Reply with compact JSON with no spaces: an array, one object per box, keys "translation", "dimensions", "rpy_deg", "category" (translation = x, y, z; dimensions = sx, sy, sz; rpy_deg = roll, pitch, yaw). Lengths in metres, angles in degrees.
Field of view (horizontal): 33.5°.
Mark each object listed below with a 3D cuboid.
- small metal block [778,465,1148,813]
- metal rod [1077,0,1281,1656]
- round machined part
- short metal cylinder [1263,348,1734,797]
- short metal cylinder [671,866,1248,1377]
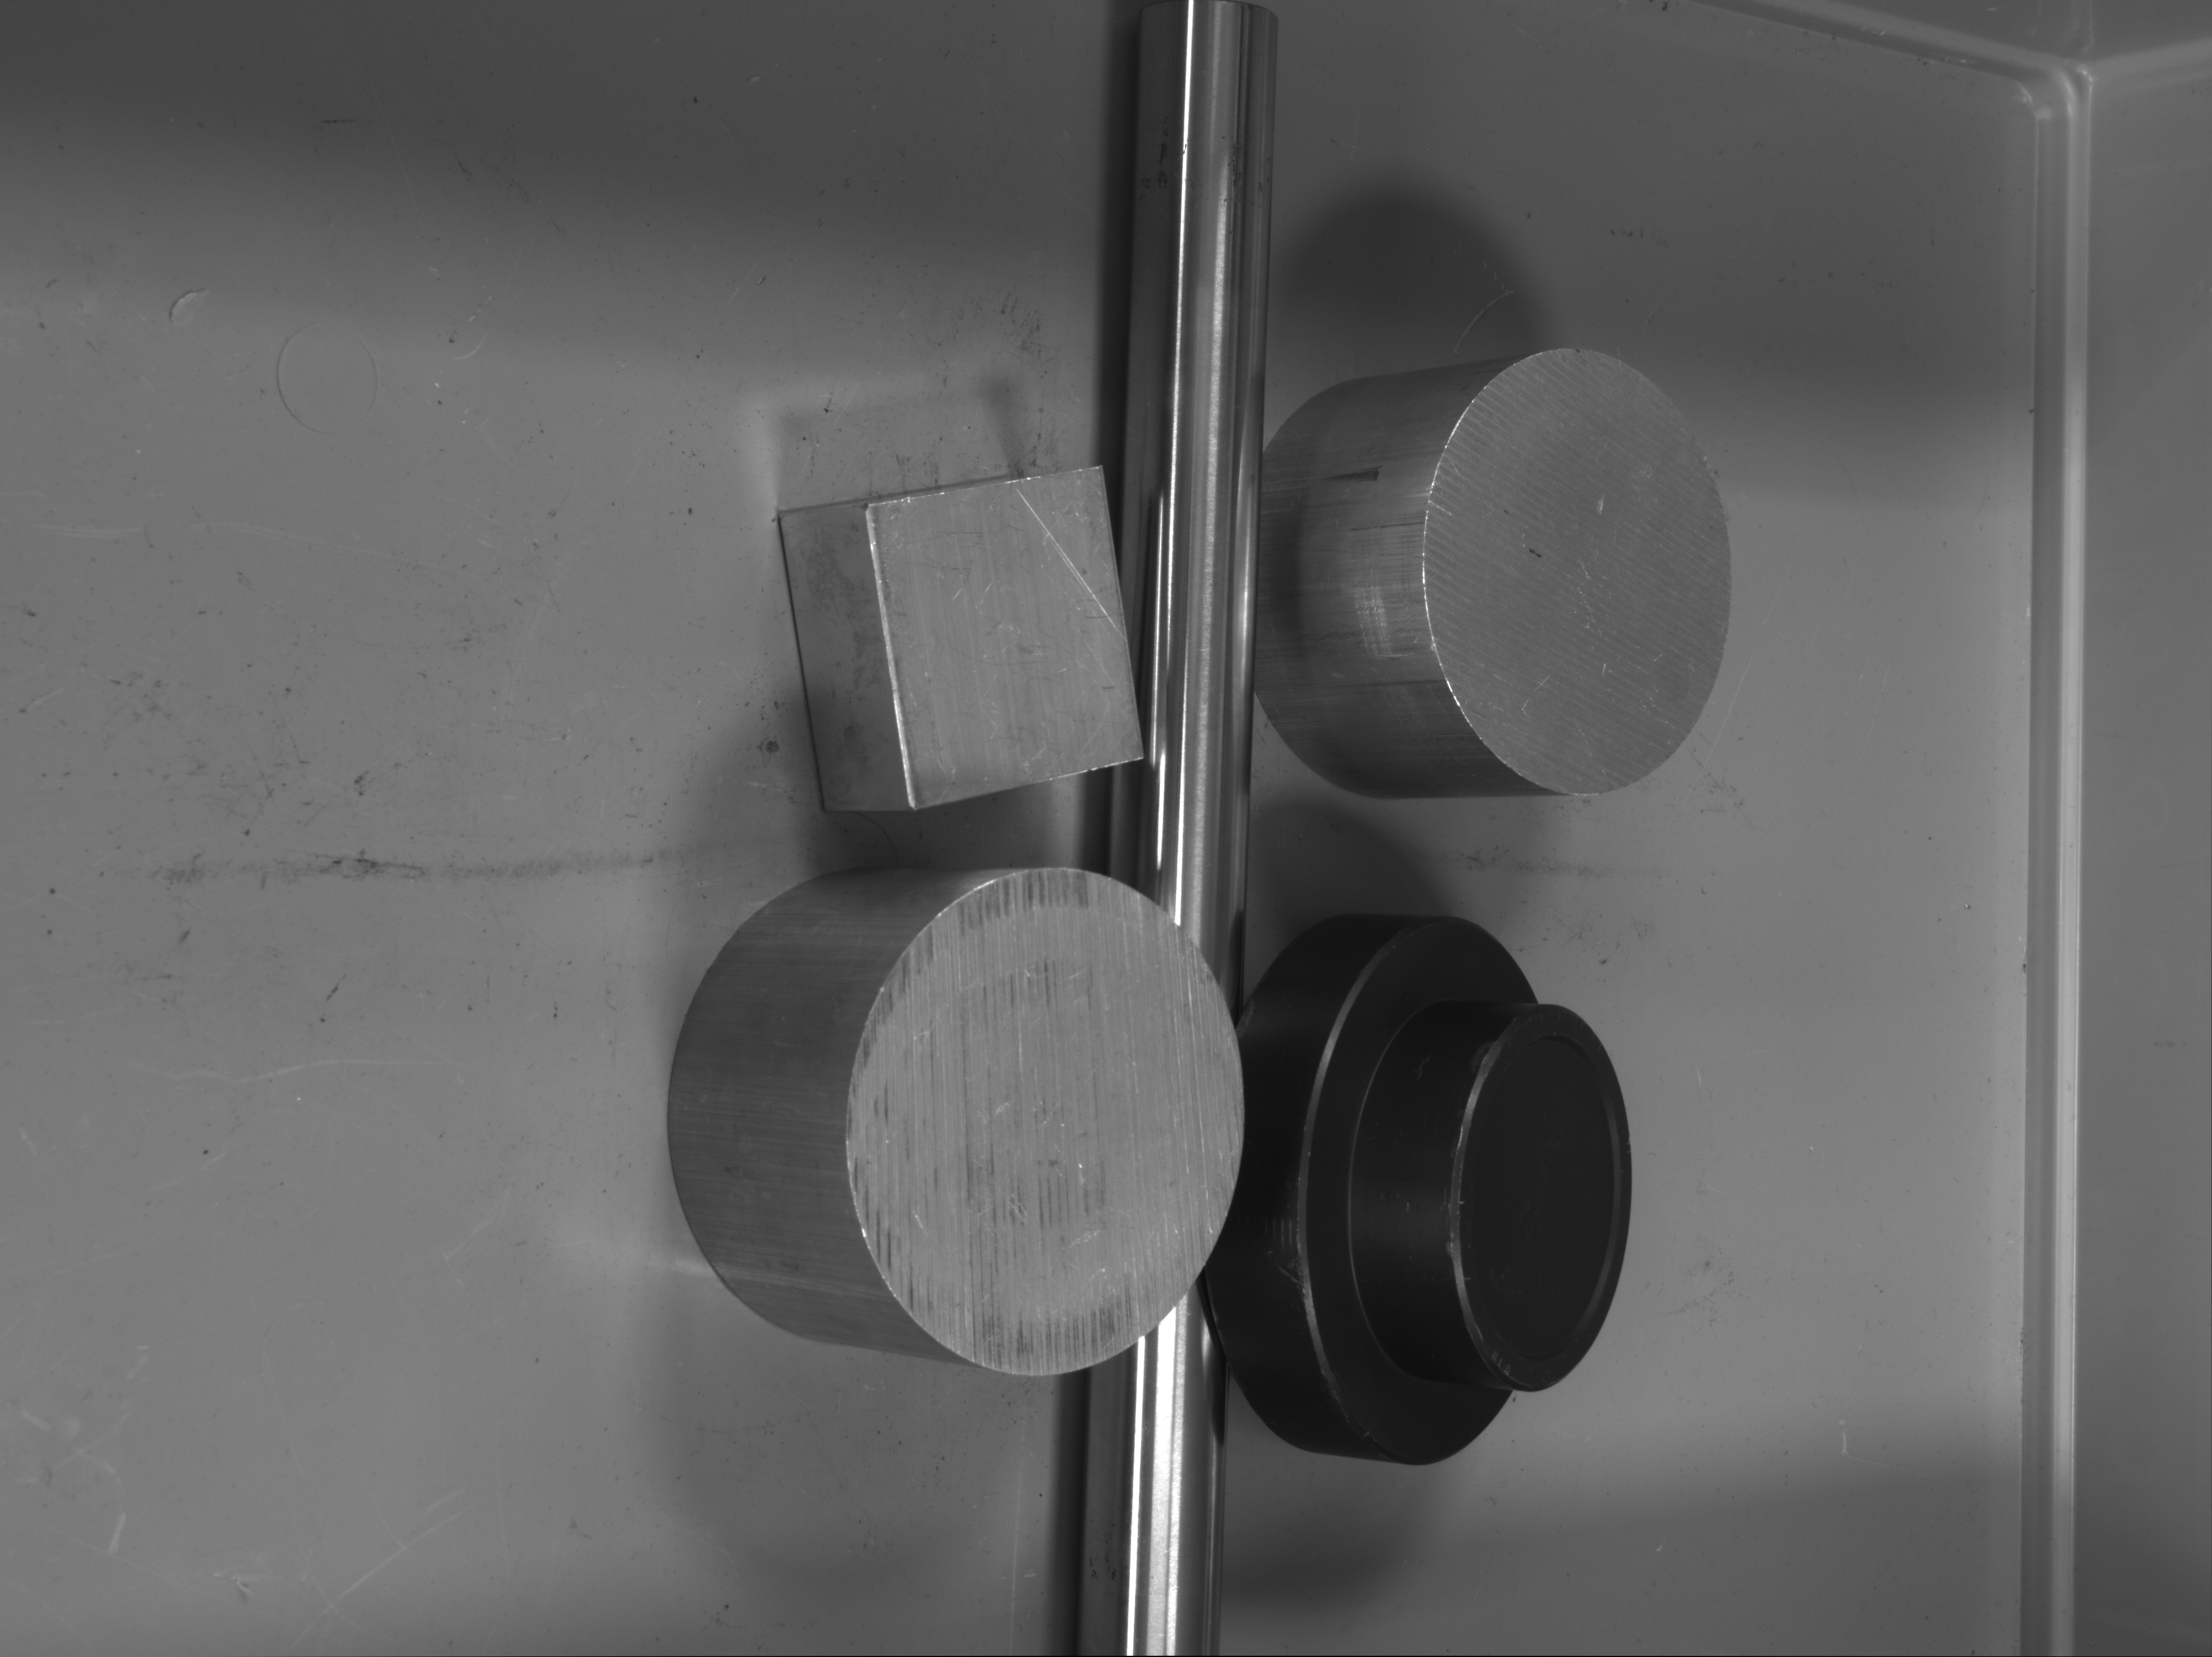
[{"translation":[-0.023,-0.032,0.615],"dimensions":[0.050,0.025,0.050],"rpy_deg":[-14,99,-39],"category":"small metal block"},{"translation":[0.013,0.006,0.645],"dimensions":[0.025,0.025,0.300],"rpy_deg":[4,88,-40],"category":"metal rod"},{"translation":[0.061,0.065,0.658],"dimensions":[0.098,0.042,0.098],"rpy_deg":[2,88,-56],"category":"round machined part"},{"translation":[0.070,-0.046,0.676],"dimensions":[0.080,0.050,0.080],"rpy_deg":[0,90,-40],"category":"short metal cylinder"},{"translation":[-0.023,0.046,0.598],"dimensions":[0.080,0.050,0.080],"rpy_deg":[0,90,-40],"category":"short metal cylinder"}]
